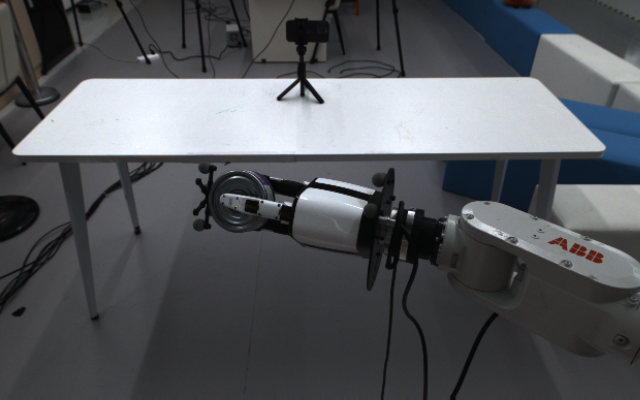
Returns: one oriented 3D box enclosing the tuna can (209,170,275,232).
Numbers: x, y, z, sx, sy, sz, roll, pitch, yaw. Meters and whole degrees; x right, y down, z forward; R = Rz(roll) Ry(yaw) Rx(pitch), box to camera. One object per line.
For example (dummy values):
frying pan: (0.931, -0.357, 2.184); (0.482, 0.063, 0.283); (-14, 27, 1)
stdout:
tuna can: (-0.104, 0.001, 0.655); (0.085, 0.085, 0.034); (10, 3, 12)
